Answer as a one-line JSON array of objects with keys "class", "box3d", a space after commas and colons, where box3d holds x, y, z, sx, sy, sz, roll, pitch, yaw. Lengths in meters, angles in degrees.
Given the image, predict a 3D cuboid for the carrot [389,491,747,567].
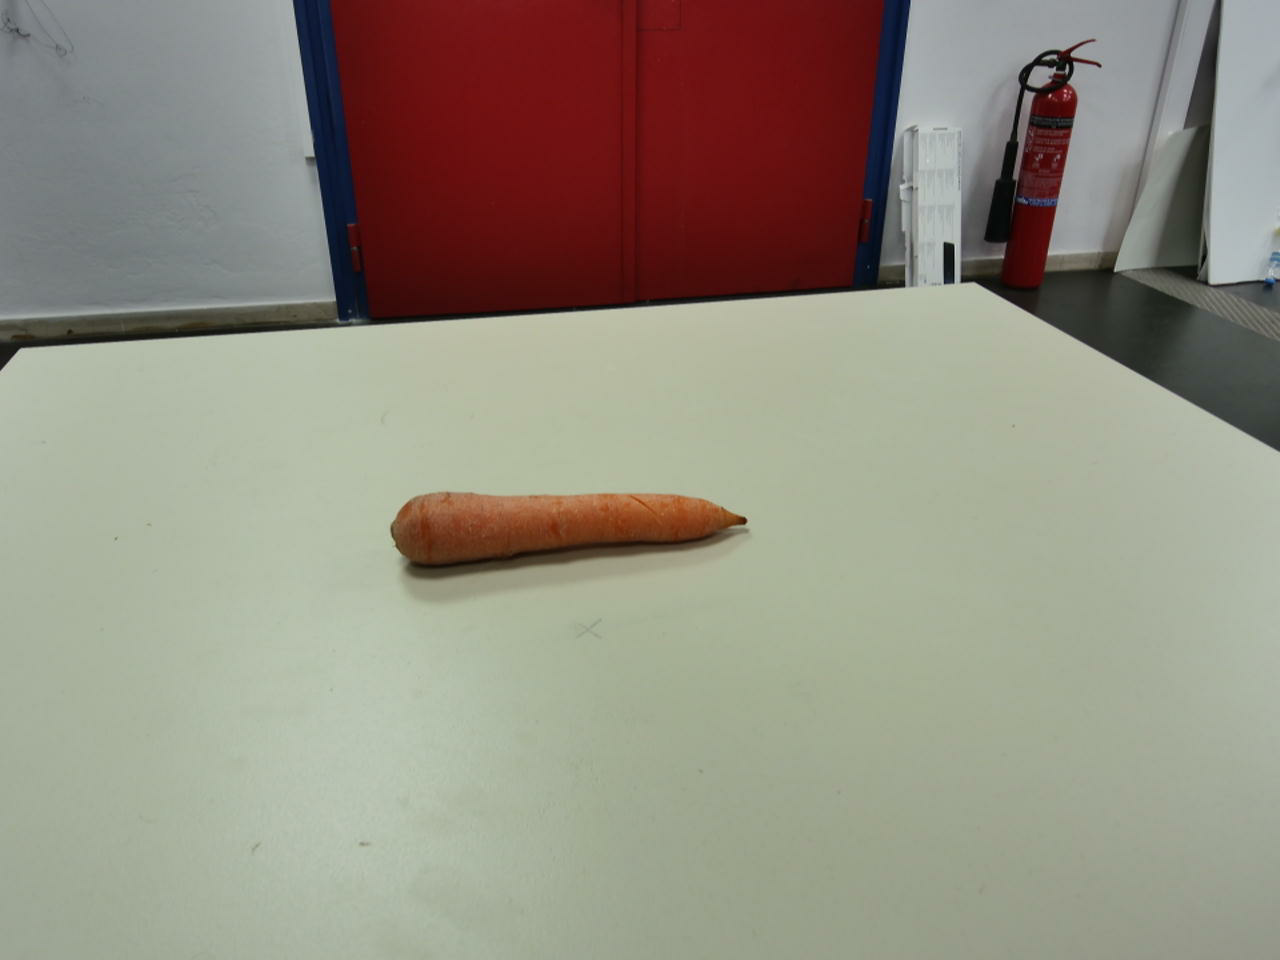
[{"class": "carrot", "box3d": [-0.035, 0.020, 0.544, 0.196, 0.041, 0.039, -5, 27, -11]}]
